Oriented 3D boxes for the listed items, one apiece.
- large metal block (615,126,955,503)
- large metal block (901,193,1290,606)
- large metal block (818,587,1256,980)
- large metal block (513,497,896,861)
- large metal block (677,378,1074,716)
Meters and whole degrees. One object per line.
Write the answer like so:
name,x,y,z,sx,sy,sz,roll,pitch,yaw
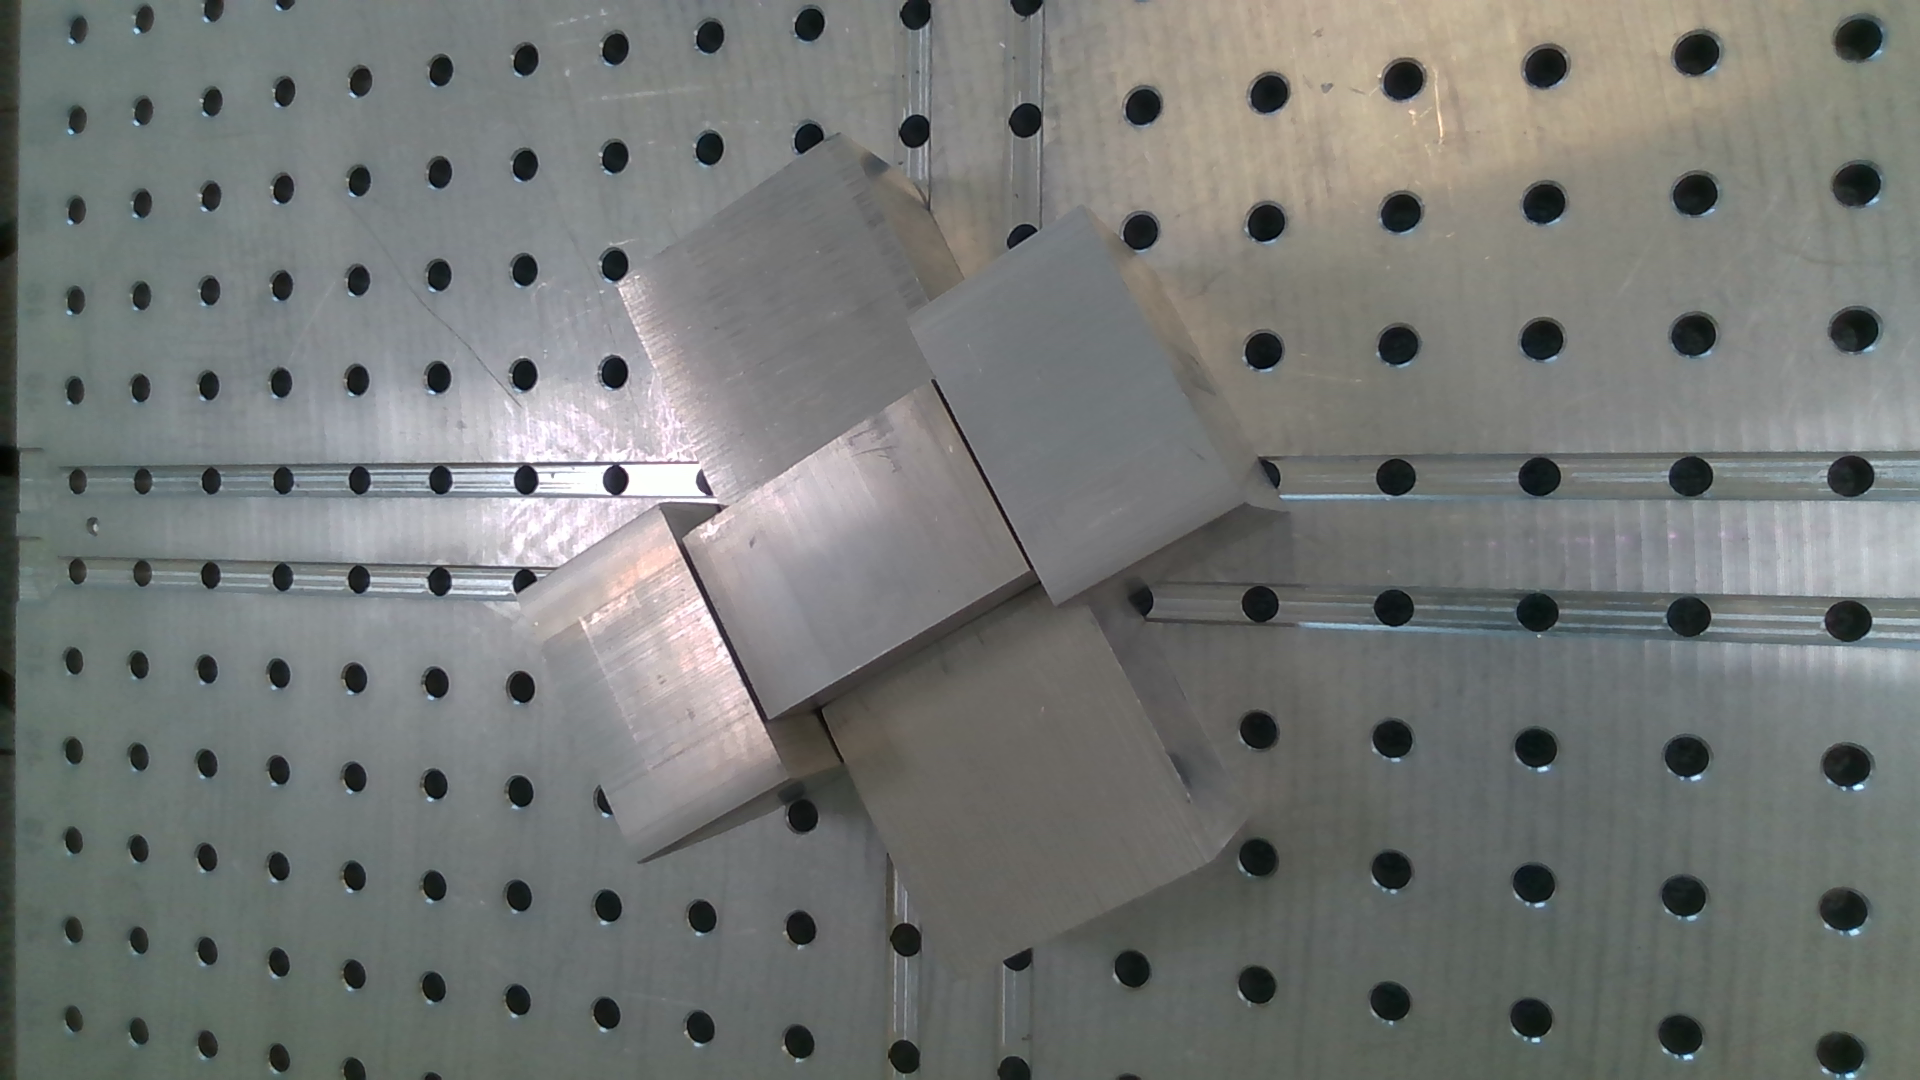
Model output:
large metal block,-0.039,-0.057,0.398,0.080,0.050,0.080,-28,81,18
large metal block,0.038,-0.032,0.352,0.050,0.080,0.080,-30,80,17
large metal block,0.022,0.060,0.375,0.080,0.050,0.080,-31,80,20
large metal block,-0.067,0.036,0.392,0.050,0.080,0.080,-30,81,18
large metal block,-0.014,0.003,0.372,0.080,0.080,0.050,-30,80,18
